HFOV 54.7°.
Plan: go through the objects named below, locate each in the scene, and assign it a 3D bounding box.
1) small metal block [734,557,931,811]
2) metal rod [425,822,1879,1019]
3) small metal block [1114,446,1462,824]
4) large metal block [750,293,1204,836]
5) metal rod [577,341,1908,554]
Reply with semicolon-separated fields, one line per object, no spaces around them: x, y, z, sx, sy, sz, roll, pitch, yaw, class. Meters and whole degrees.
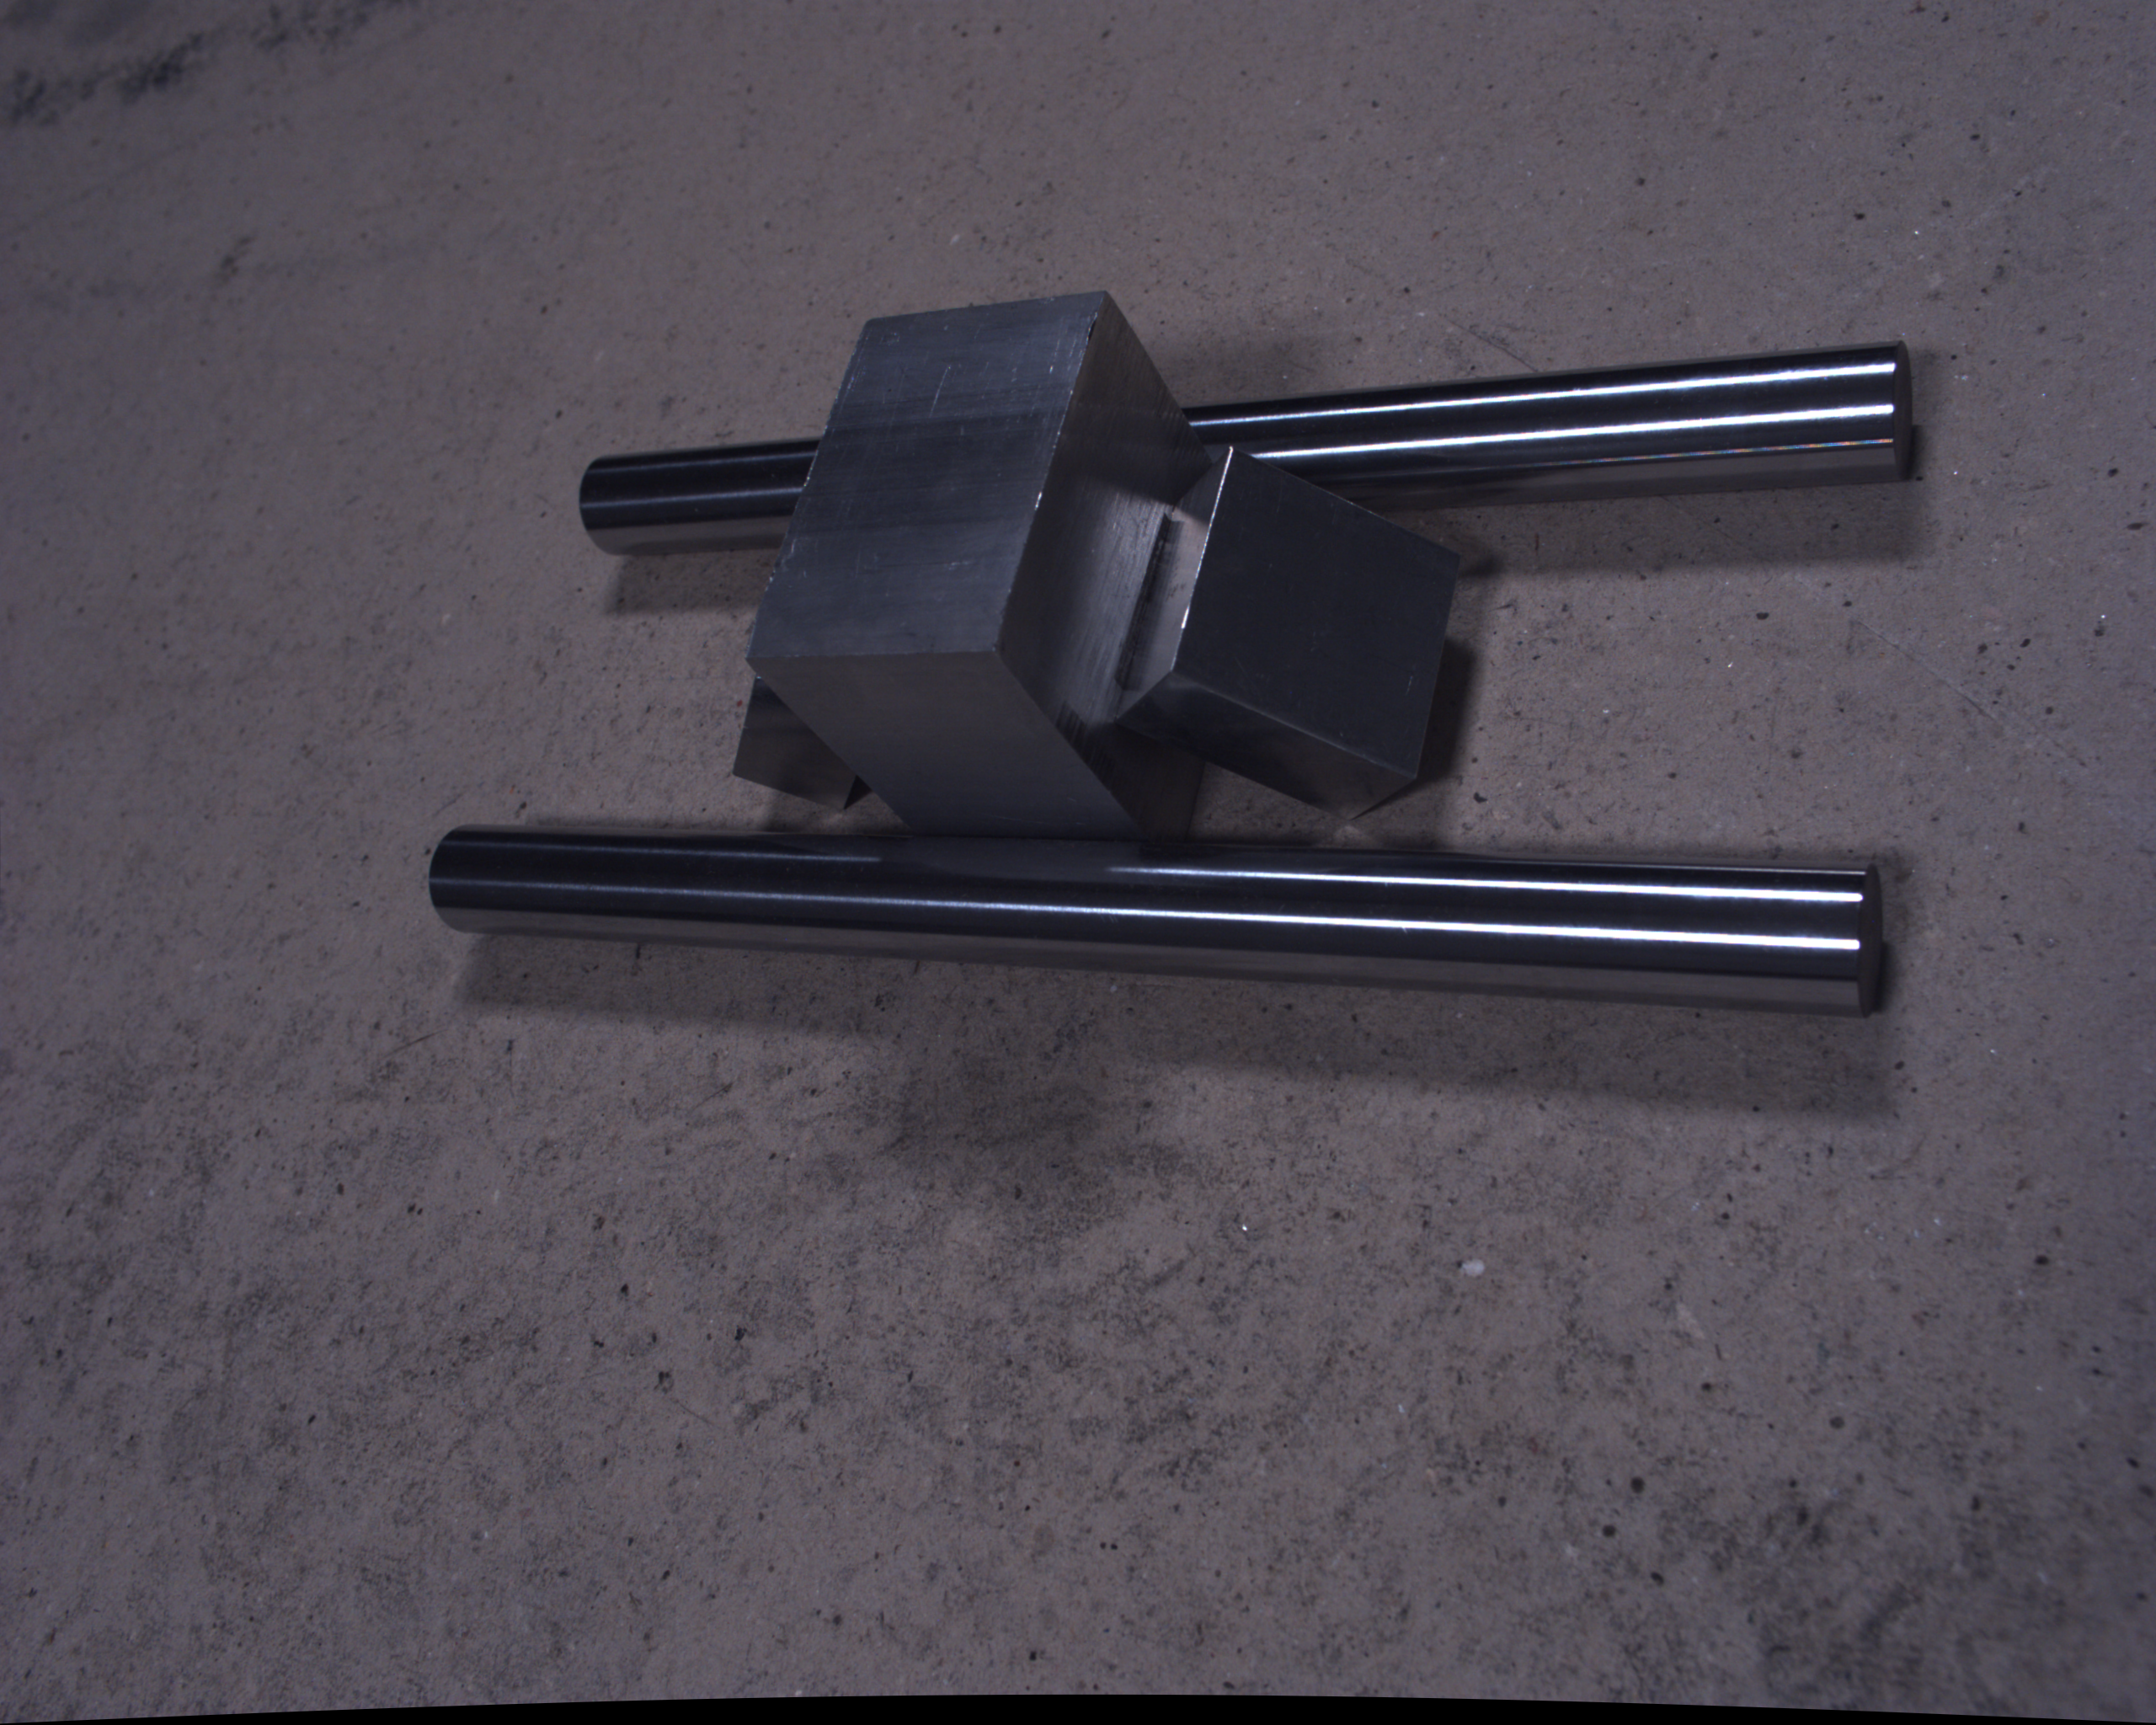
-0.051;-0.046;0.441;0.025;0.050;0.050;18;66;-7;small metal block
-0.007;0.008;0.403;0.300;0.025;0.025;2;63;28;metal rod
0.040;-0.042;0.391;0.025;0.050;0.050;-39;32;60;small metal block
-0.010;-0.051;0.408;0.050;0.080;0.080;1;62;28;large metal block
0.017;-0.085;0.447;0.300;0.025;0.025;2;63;28;metal rod
